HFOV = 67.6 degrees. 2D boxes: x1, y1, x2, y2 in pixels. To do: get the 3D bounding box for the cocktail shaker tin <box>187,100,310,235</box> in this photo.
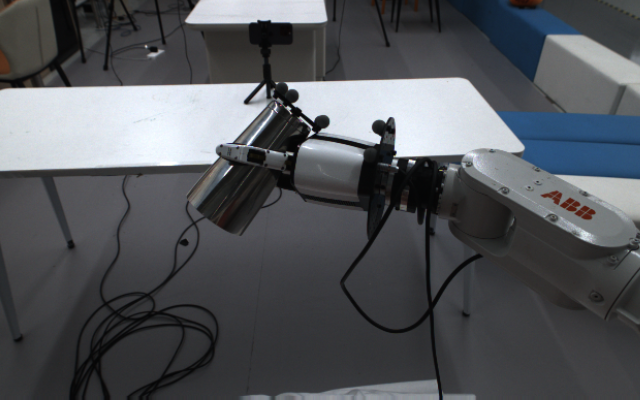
[{"bbox_3d":[-0.089,-0.049,0.650,0.170,0.093,0.093,-50,46,4],"label":"cocktail shaker tin"}]
